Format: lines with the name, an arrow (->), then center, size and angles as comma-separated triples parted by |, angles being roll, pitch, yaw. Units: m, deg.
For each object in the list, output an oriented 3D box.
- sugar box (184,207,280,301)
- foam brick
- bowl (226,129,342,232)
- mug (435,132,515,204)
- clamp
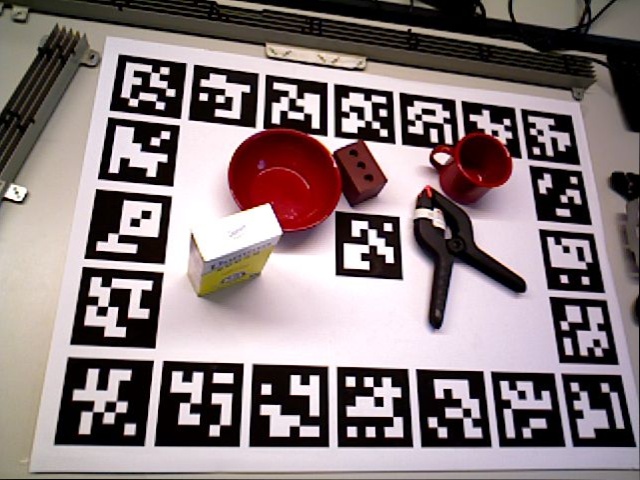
sugar box -> -0.110, 0.021, 0.648 | 0.091, 0.180, 0.045 | -21, 78, -21
foam brick -> 0.058, -0.092, 0.798 | 0.052, 0.052, 0.078 | -23, 79, -19
bowl -> -0.053, -0.078, 0.760 | 0.160, 0.056, 0.160 | 4, 71, -13
mug -> 0.227, -0.112, 0.818 | 0.117, 0.083, 0.092 | 30, 67, -5
clamp -> 0.192, 0.013, 0.788 | 0.163, 0.037, 0.202 | -20, 78, -16
